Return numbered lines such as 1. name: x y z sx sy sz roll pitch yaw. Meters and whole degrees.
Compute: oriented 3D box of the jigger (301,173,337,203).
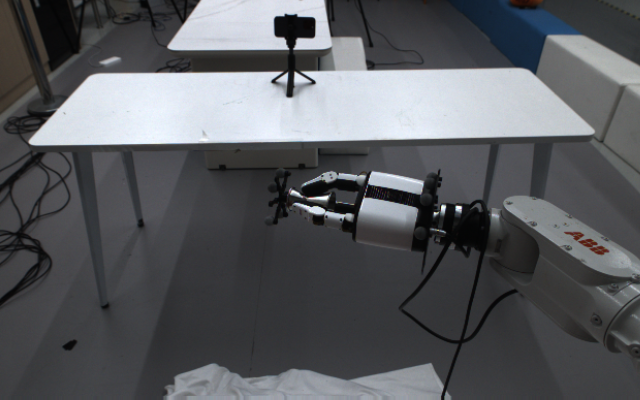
1. jigger: -0.008 0.000 0.757 0.071 0.043 0.043 9 35 17
